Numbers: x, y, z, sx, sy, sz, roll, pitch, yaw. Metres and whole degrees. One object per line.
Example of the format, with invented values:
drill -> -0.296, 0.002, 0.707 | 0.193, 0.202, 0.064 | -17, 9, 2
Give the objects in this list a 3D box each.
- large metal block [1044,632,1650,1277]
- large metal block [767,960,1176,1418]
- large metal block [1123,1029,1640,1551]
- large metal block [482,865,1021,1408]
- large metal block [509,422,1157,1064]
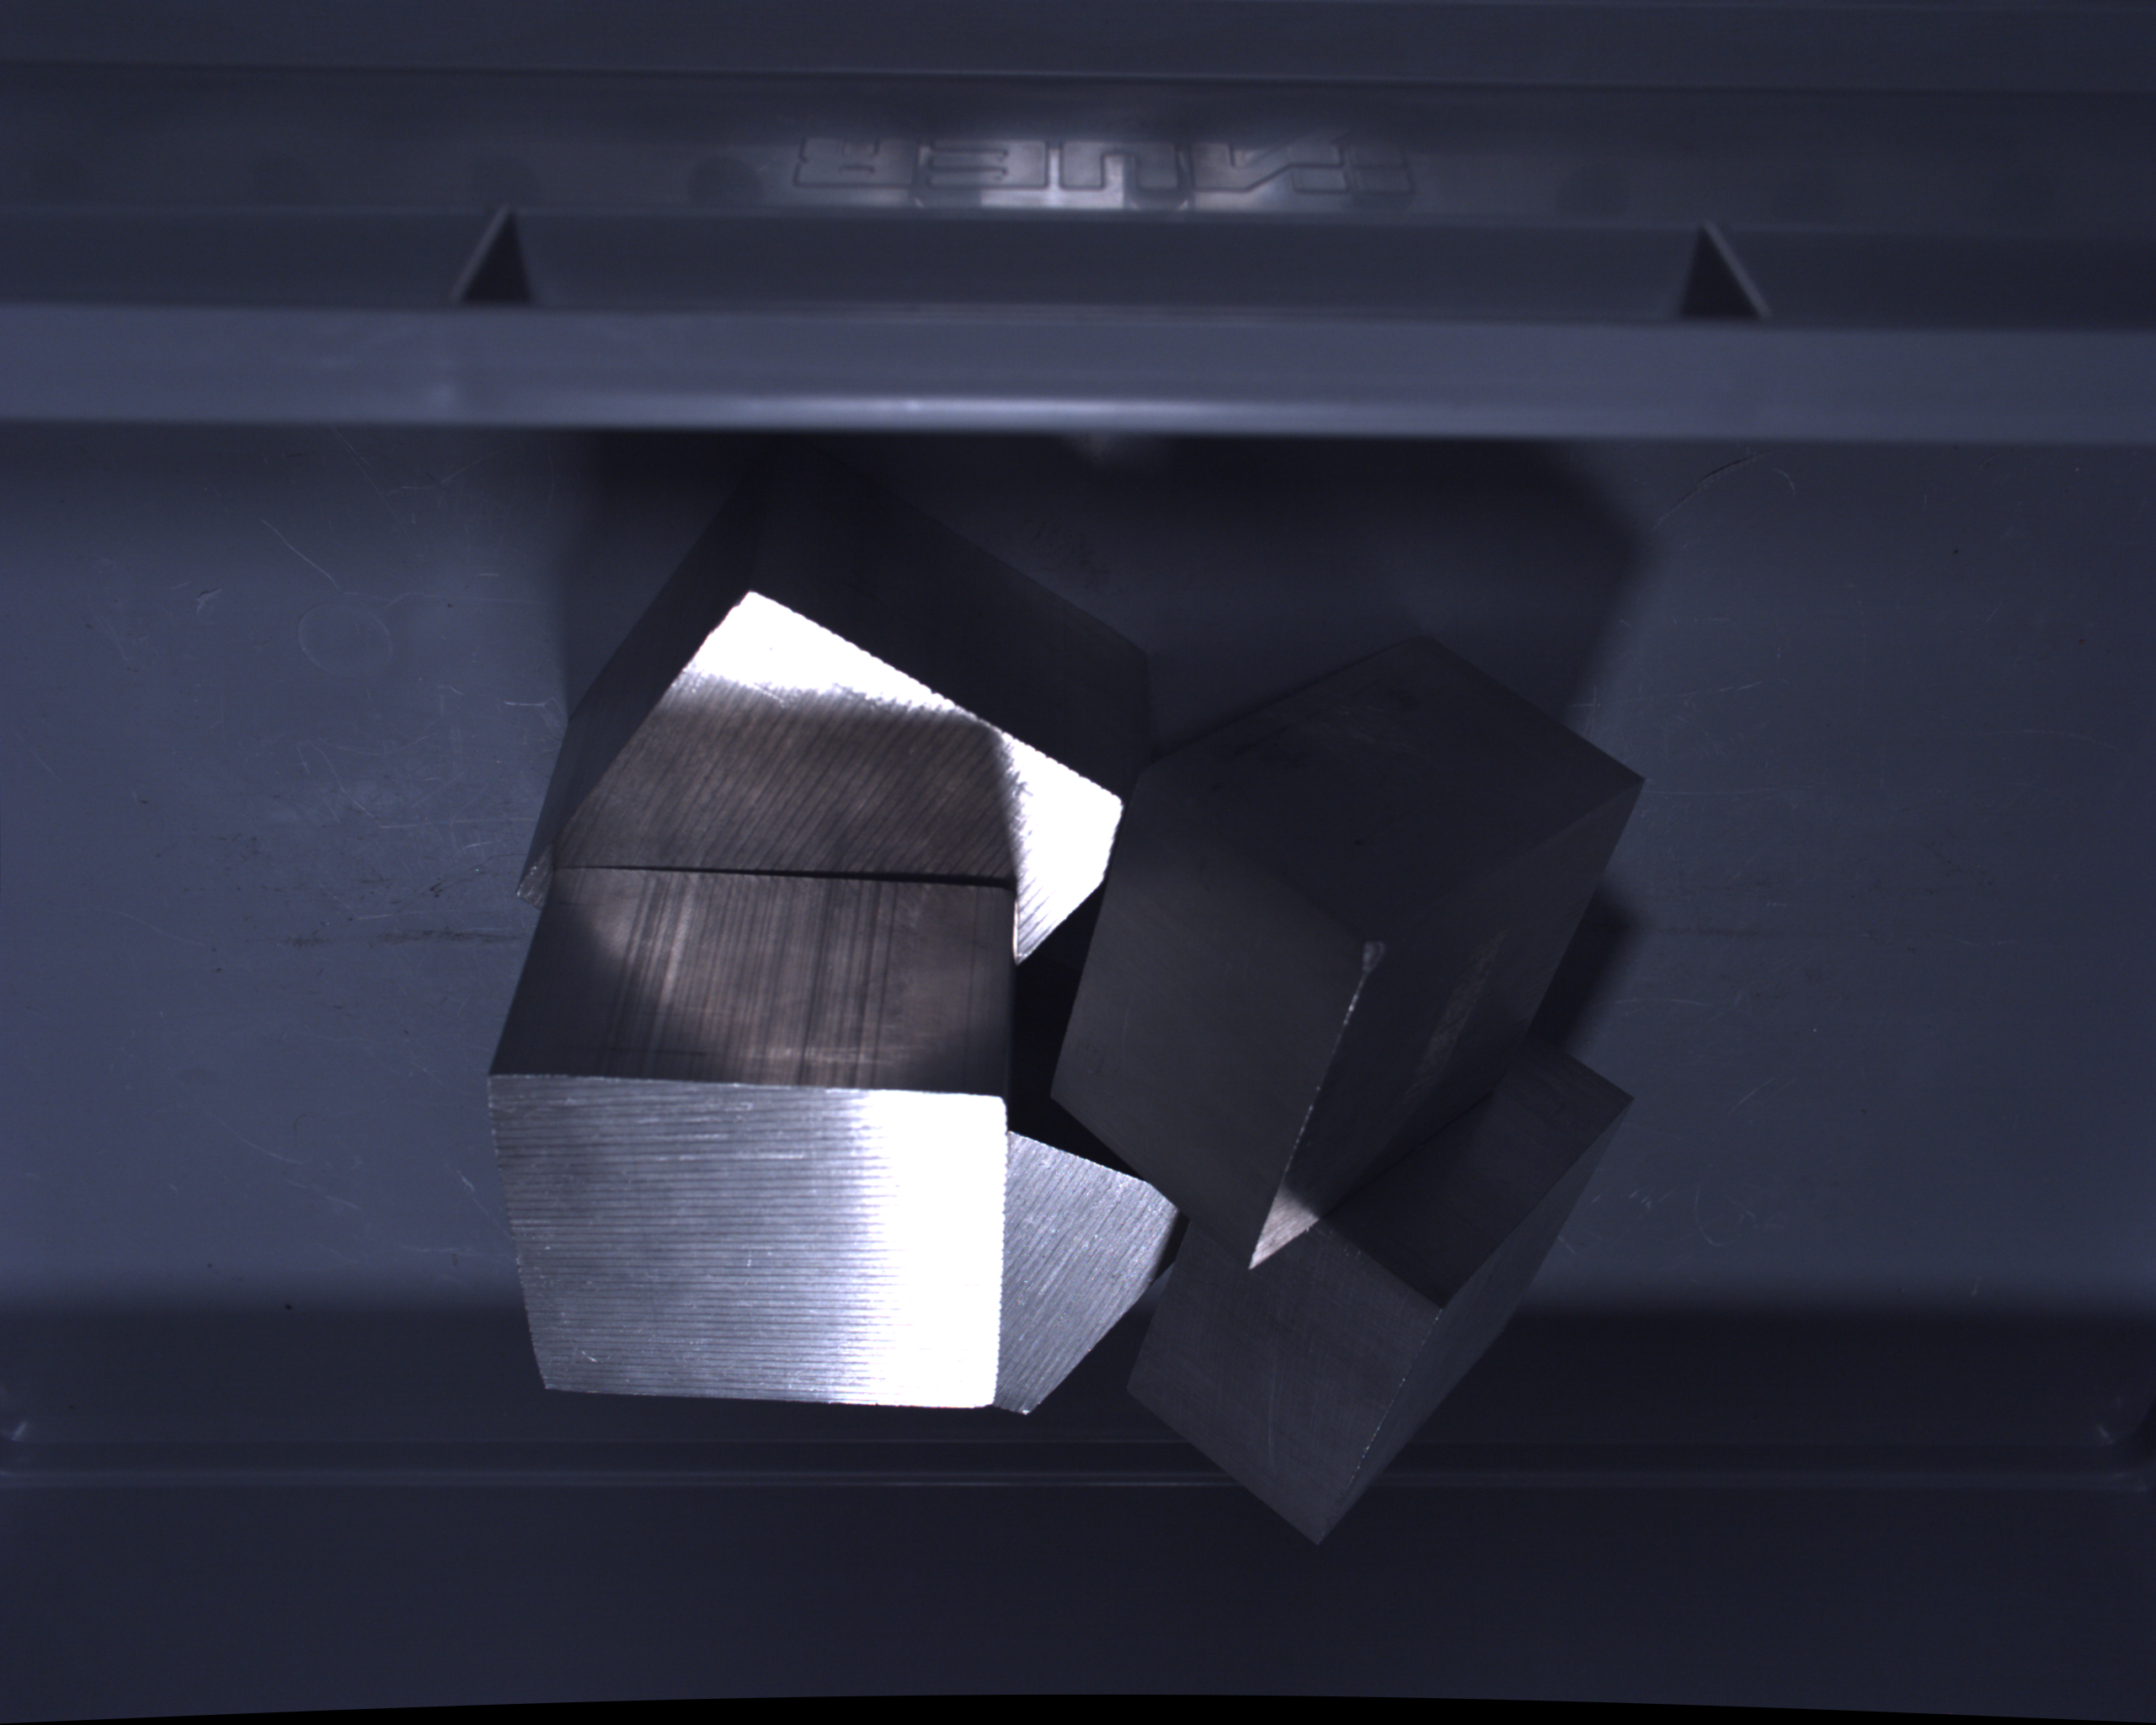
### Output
large metal block -> 0.047, 0.015, 0.376 | 0.081, 0.050, 0.079 | -27, 145, -40
large metal block -> -0.026, 0.065, 0.442 | 0.080, 0.050, 0.080 | 24, 126, -19
large metal block -> 0.062, 0.080, 0.431 | 0.050, 0.081, 0.079 | 35, 133, 22
large metal block -> -0.052, 0.049, 0.364 | 0.081, 0.050, 0.079 | 3, 129, -1
large metal block -> -0.042, -0.017, 0.376 | 0.080, 0.050, 0.080 | 29, 124, -23
